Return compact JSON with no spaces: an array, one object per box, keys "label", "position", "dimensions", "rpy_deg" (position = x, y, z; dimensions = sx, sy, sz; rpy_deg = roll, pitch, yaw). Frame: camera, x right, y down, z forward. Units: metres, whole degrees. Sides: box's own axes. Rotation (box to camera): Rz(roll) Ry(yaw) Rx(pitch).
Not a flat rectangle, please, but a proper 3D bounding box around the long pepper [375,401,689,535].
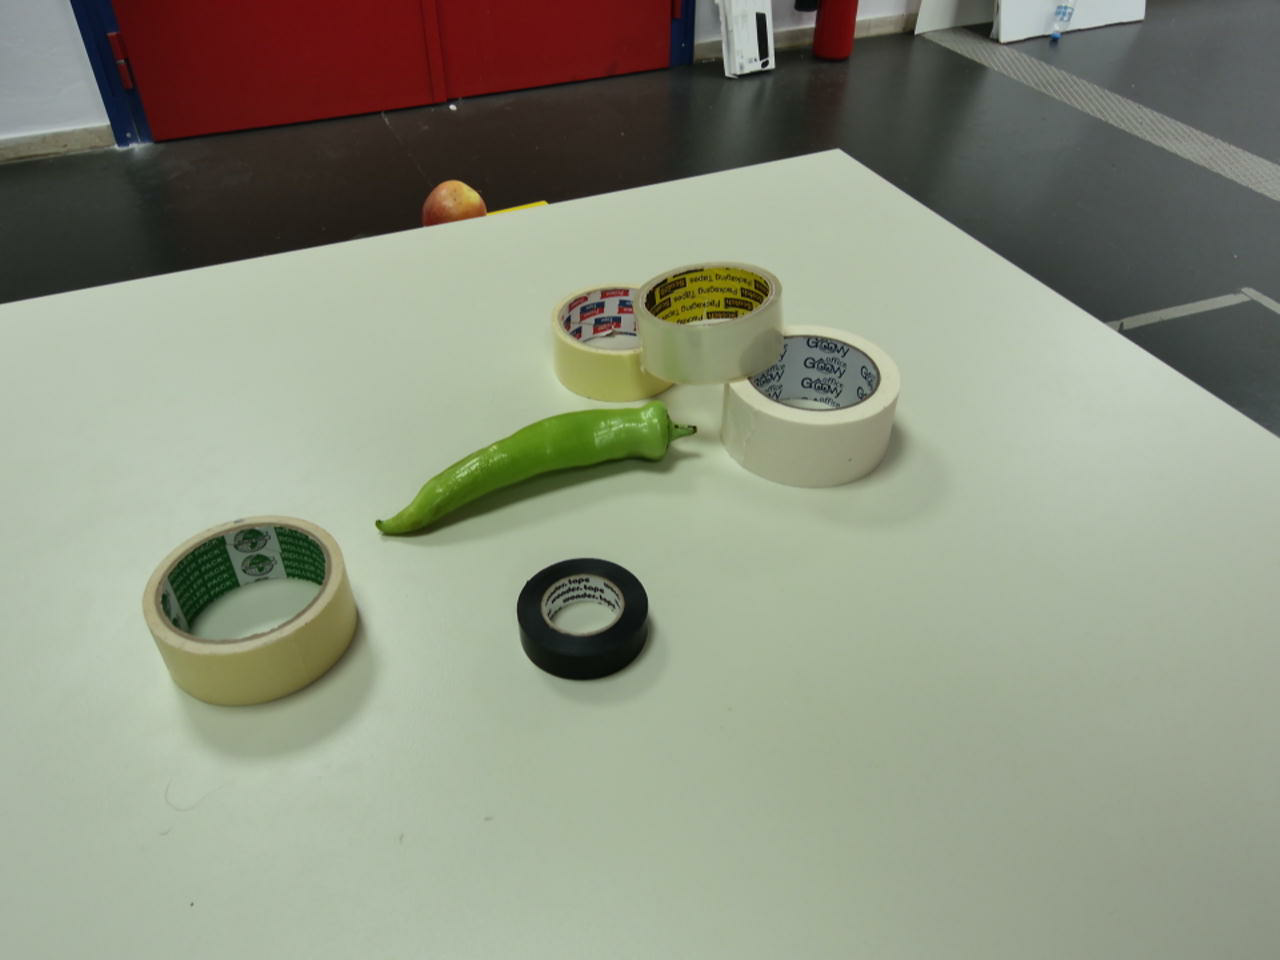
[{"label":"long pepper","position":[-0.062,-0.014,0.591],"dimensions":[0.197,0.038,0.046],"rpy_deg":[-14,41,-18]}]
